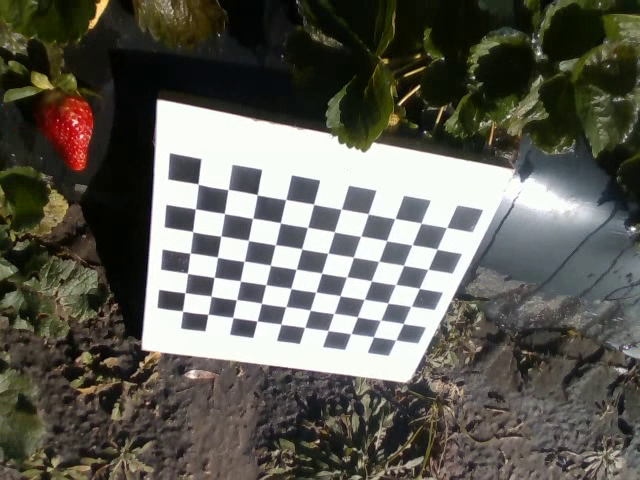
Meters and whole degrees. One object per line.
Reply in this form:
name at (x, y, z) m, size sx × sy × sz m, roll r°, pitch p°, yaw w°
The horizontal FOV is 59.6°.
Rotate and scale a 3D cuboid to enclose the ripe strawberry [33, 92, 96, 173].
ripe strawberry at (-0.189, -0.081, 0.421) m, size 0.048 × 0.069 × 0.040 m, roll -5°, pitch 30°, yaw 2°
